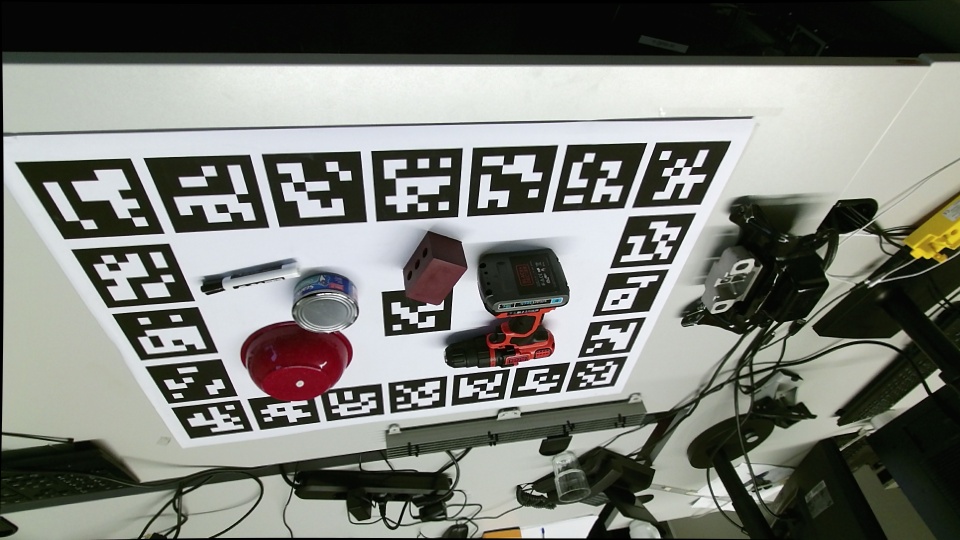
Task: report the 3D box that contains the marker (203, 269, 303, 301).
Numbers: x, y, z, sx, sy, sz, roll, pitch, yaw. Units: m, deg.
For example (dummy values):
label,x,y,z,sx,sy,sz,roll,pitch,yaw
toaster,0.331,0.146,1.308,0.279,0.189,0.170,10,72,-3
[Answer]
label,x,y,z,sx,sy,sz,roll,pitch,yaw
marker,-0.285,0.019,0.672,0.121,0.019,0.019,-11,134,-4

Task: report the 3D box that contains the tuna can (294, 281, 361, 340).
label,x,y,z,sx,sy,sz,roll,pitch,yaw
tuna can,-0.203,0.054,0.720,0.086,0.033,0.086,-6,135,-6

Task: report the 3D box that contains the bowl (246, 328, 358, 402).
label,x,y,z,sx,sy,sz,roll,pitch,yaw
bowl,-0.262,0.151,0.800,0.162,0.055,0.162,-10,143,-8

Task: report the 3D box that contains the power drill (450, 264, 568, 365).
label,x,y,z,sx,sy,sz,roll,pitch,yaw
power drill,0.049,0.076,0.799,0.185,0.057,0.187,-3,137,-7

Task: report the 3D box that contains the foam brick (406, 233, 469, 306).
label,x,y,z,sx,sy,sz,roll,pitch,yaw
foam brick,-0.056,0.000,0.703,0.051,0.052,0.078,15,127,-26
